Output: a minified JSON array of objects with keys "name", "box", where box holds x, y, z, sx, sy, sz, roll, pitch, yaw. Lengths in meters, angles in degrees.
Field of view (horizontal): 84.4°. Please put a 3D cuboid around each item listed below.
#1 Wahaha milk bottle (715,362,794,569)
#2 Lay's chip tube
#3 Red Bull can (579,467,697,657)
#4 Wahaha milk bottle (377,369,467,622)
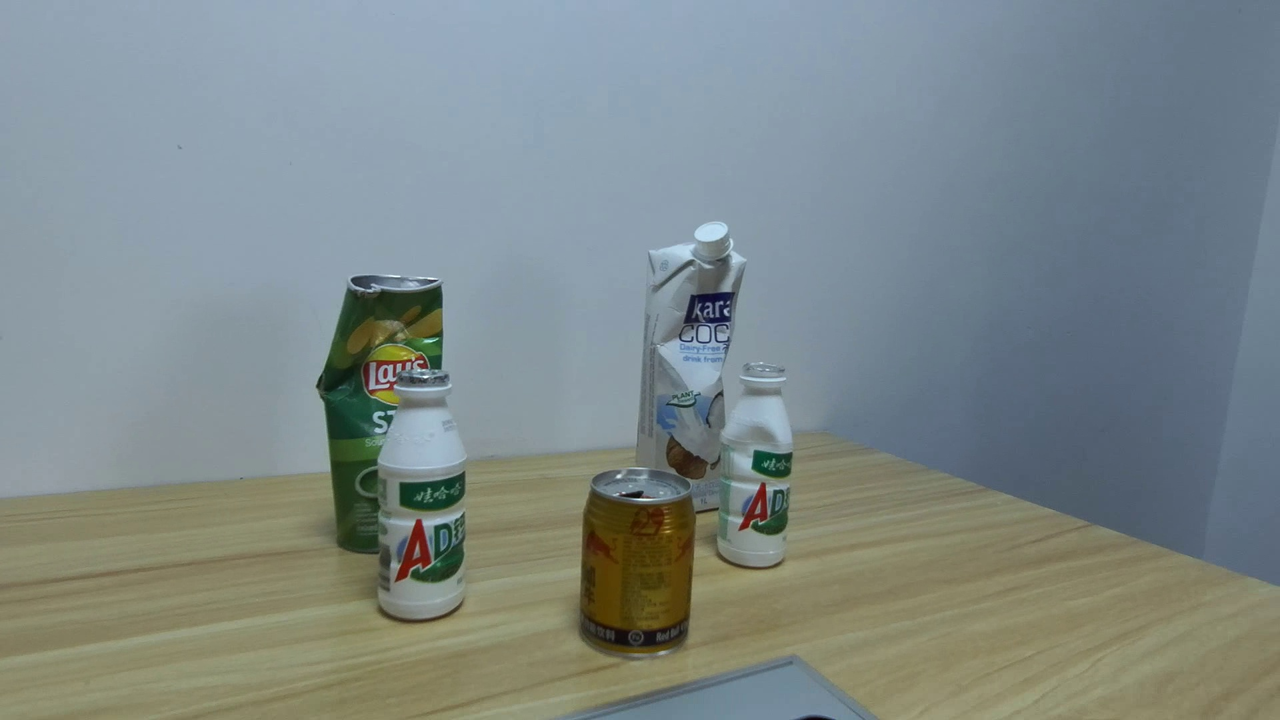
[{"name":"Wahaha milk bottle","box":[0.087,0.077,0.523,0.055,0.149,0.055,3,10,0]},{"name":"Lay's chip tube","box":[-0.193,0.038,0.534,0.069,0.201,0.077,4,12,1]},{"name":"Red Bull can","box":[-0.001,0.117,0.416,0.067,0.093,0.067,4,8,0]},{"name":"Wahaha milk bottle","box":[-0.133,0.082,0.432,0.053,0.147,0.053,2,7,0]}]
